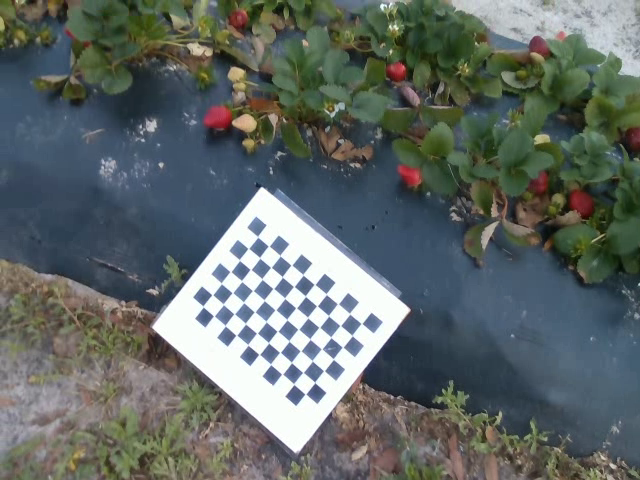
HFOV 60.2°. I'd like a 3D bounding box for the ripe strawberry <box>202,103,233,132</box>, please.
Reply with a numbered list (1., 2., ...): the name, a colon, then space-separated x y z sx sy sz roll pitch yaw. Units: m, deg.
1. ripe strawberry: -0.166 -0.193 0.882 0.050 0.034 0.059 27 42 7
